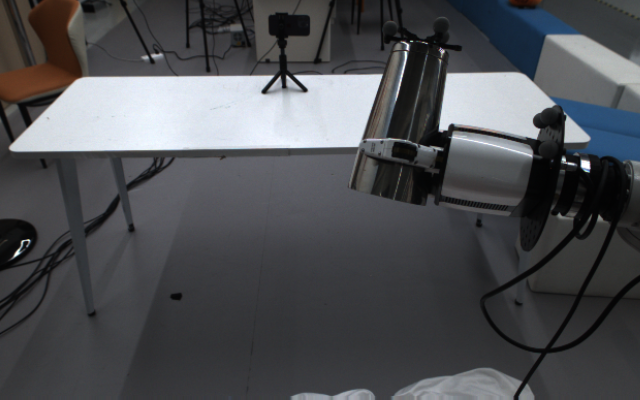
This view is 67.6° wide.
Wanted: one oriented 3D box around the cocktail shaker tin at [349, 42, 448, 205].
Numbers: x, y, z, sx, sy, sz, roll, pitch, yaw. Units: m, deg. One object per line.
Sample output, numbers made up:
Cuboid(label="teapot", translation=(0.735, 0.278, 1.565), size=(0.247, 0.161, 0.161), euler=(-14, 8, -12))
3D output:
Cuboid(label="cocktail shaker tin", translation=(0.096, -0.087, 0.555), size=(0.093, 0.170, 0.093), euler=(13, 4, -1))
